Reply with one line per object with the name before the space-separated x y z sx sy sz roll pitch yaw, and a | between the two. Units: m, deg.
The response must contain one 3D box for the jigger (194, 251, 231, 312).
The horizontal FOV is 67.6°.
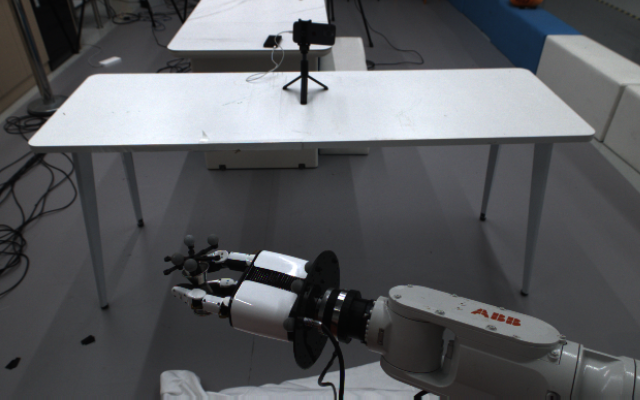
jigger | -0.170 0.127 0.711 0.043 0.071 0.043 -10 24 5
